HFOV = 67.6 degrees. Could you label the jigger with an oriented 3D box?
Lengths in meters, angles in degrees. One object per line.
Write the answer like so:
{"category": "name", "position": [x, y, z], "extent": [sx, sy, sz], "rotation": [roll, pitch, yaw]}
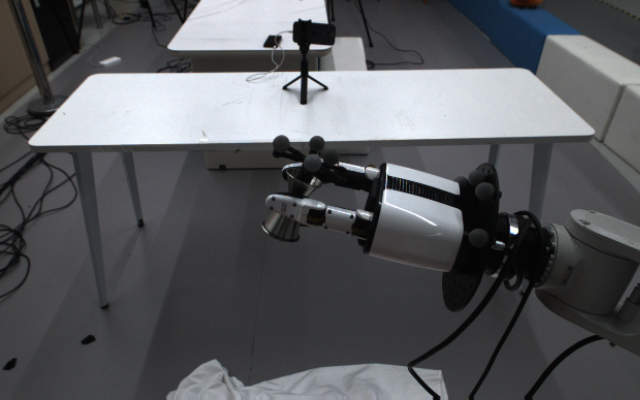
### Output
{"category": "jigger", "position": [-0.029, 0.005, 0.511], "extent": [0.043, 0.071, 0.043], "rotation": [23, 19, -8]}
